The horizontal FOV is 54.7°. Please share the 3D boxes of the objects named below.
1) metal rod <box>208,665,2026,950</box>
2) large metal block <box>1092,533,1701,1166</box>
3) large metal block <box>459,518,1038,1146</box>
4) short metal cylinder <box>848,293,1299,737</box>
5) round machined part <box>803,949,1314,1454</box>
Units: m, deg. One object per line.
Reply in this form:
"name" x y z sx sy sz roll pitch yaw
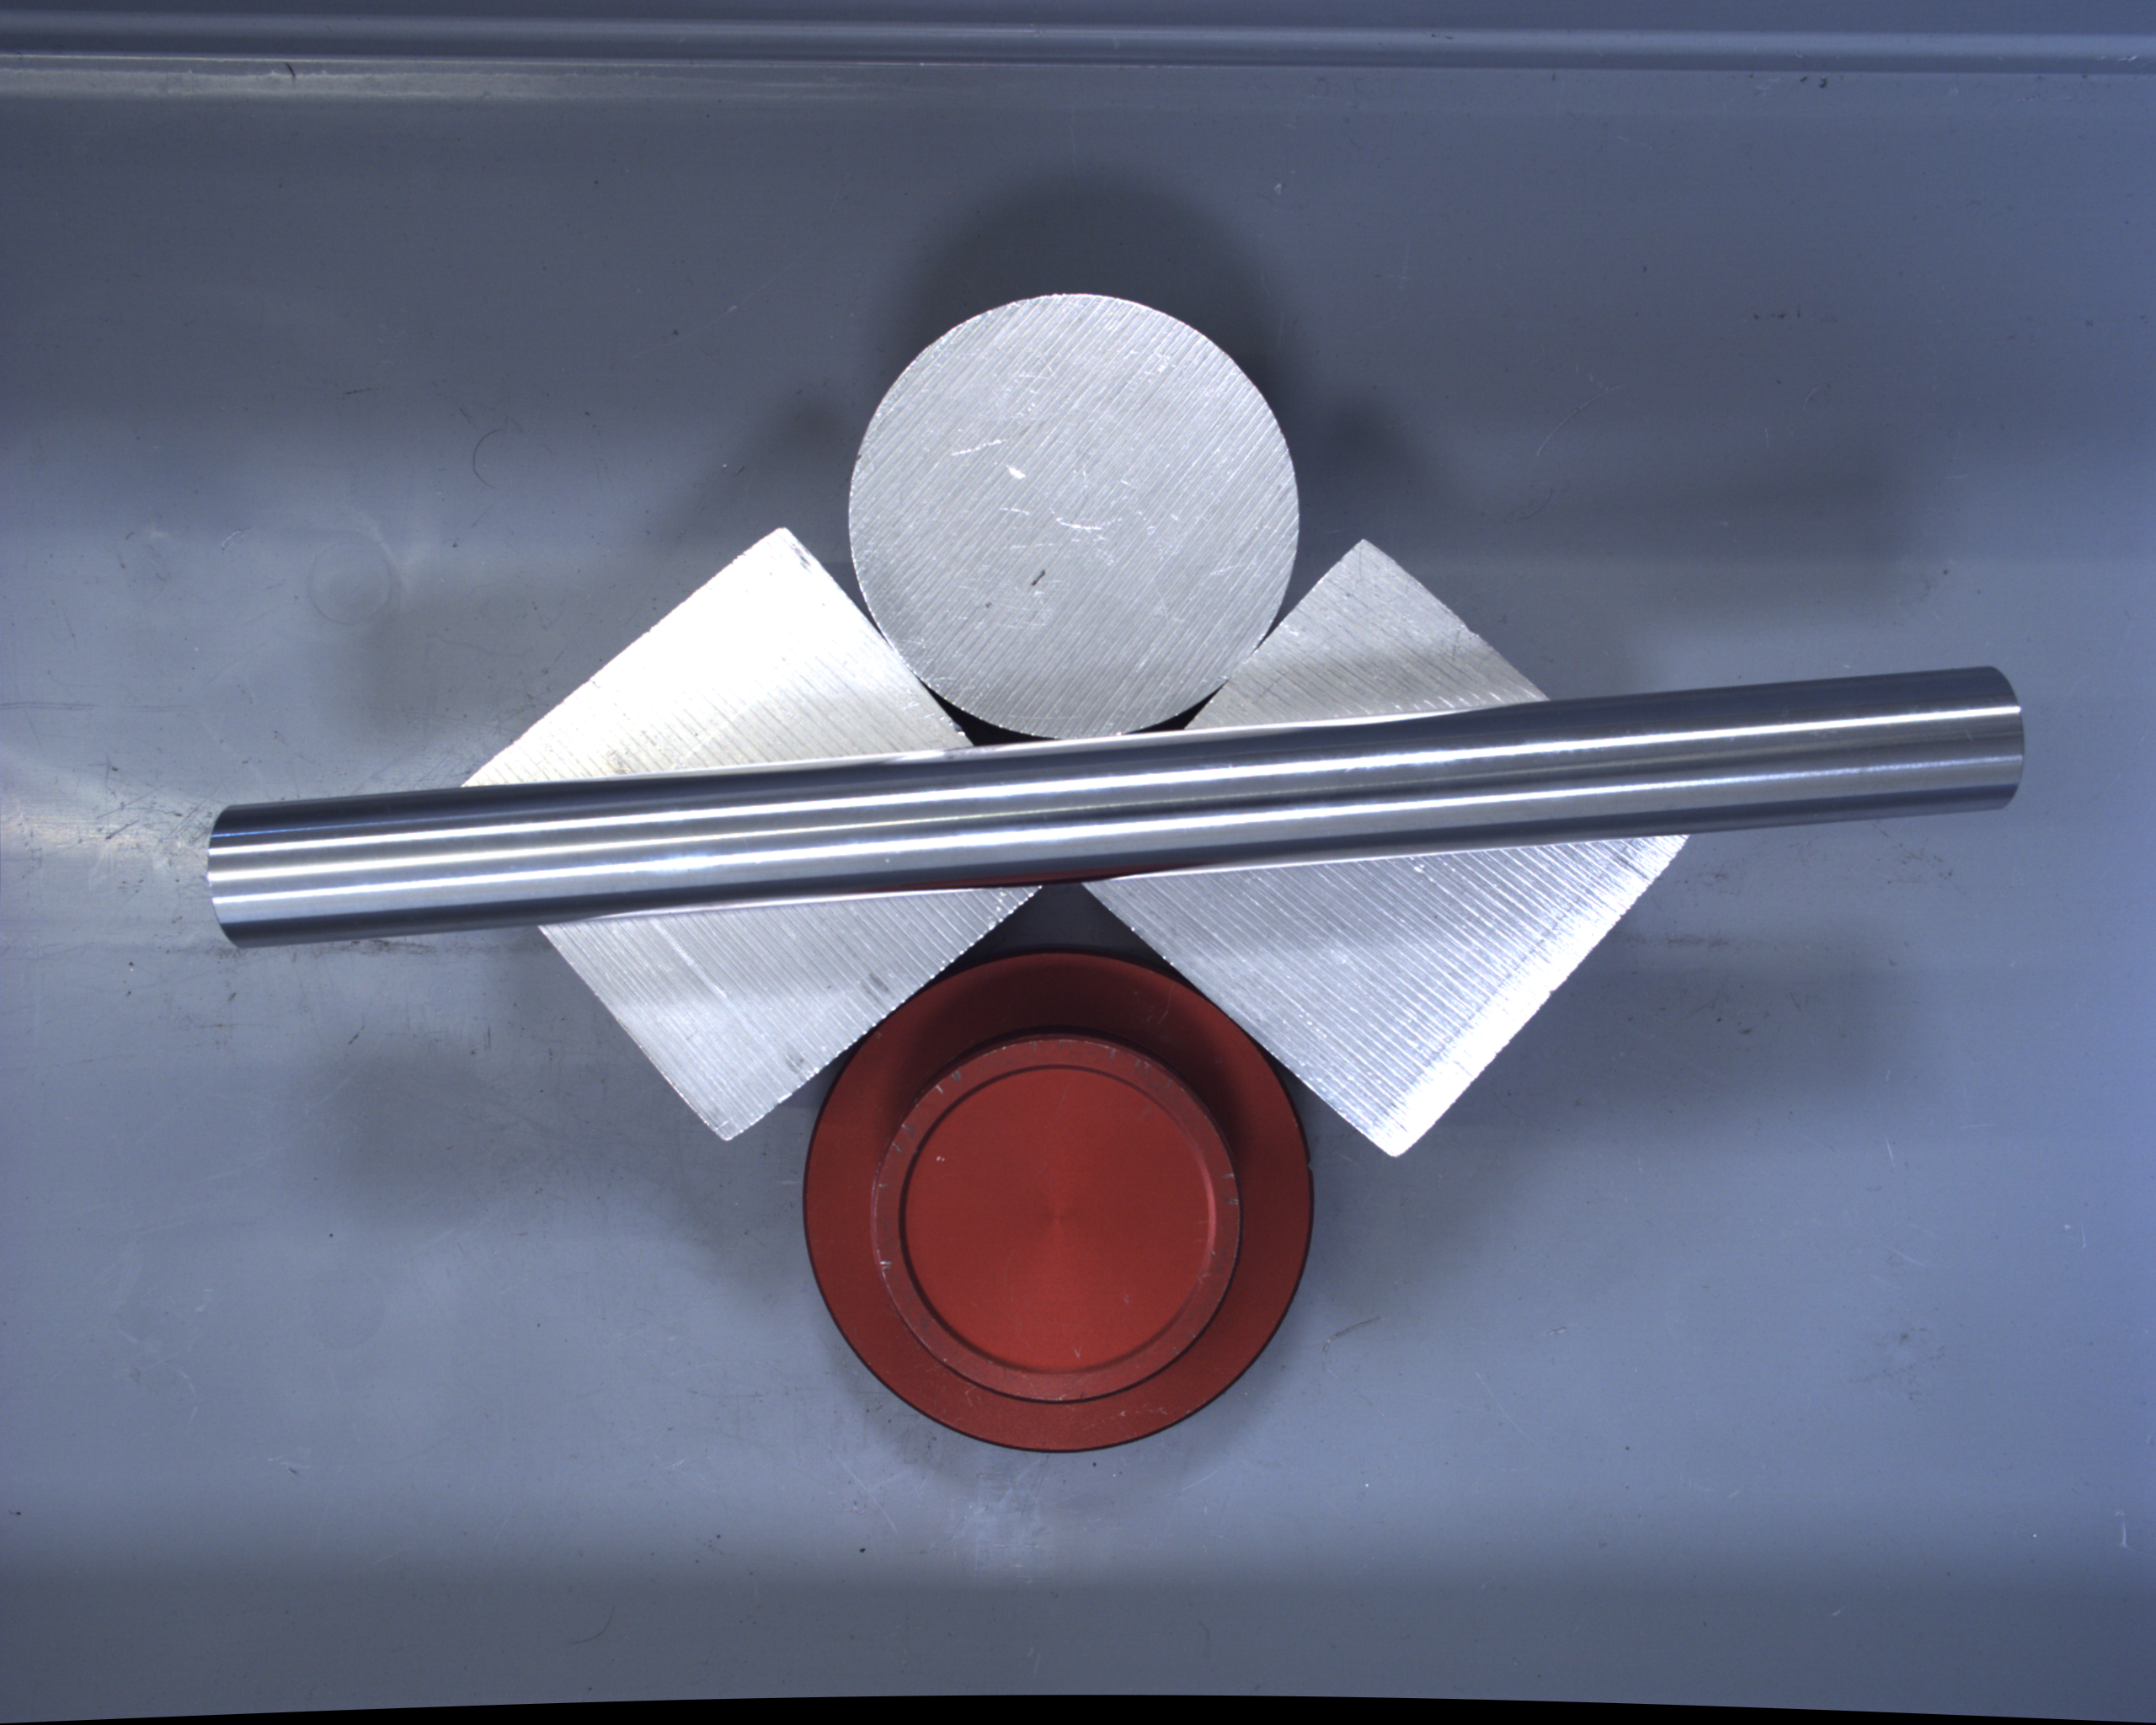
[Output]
"metal rod" 0.006 -0.009 0.358 0.302 0.025 0.025 -5 90 0
"large metal block" 0.055 -0.003 0.395 0.080 0.050 0.080 42 91 0
"large metal block" -0.058 -0.006 0.396 0.080 0.050 0.080 -39 92 0
"short metal cylinder" -0.001 -0.062 0.397 0.081 0.050 0.079 0 90 0
"round machined part" -0.004 0.065 0.401 0.099 0.042 0.097 0 90 0
